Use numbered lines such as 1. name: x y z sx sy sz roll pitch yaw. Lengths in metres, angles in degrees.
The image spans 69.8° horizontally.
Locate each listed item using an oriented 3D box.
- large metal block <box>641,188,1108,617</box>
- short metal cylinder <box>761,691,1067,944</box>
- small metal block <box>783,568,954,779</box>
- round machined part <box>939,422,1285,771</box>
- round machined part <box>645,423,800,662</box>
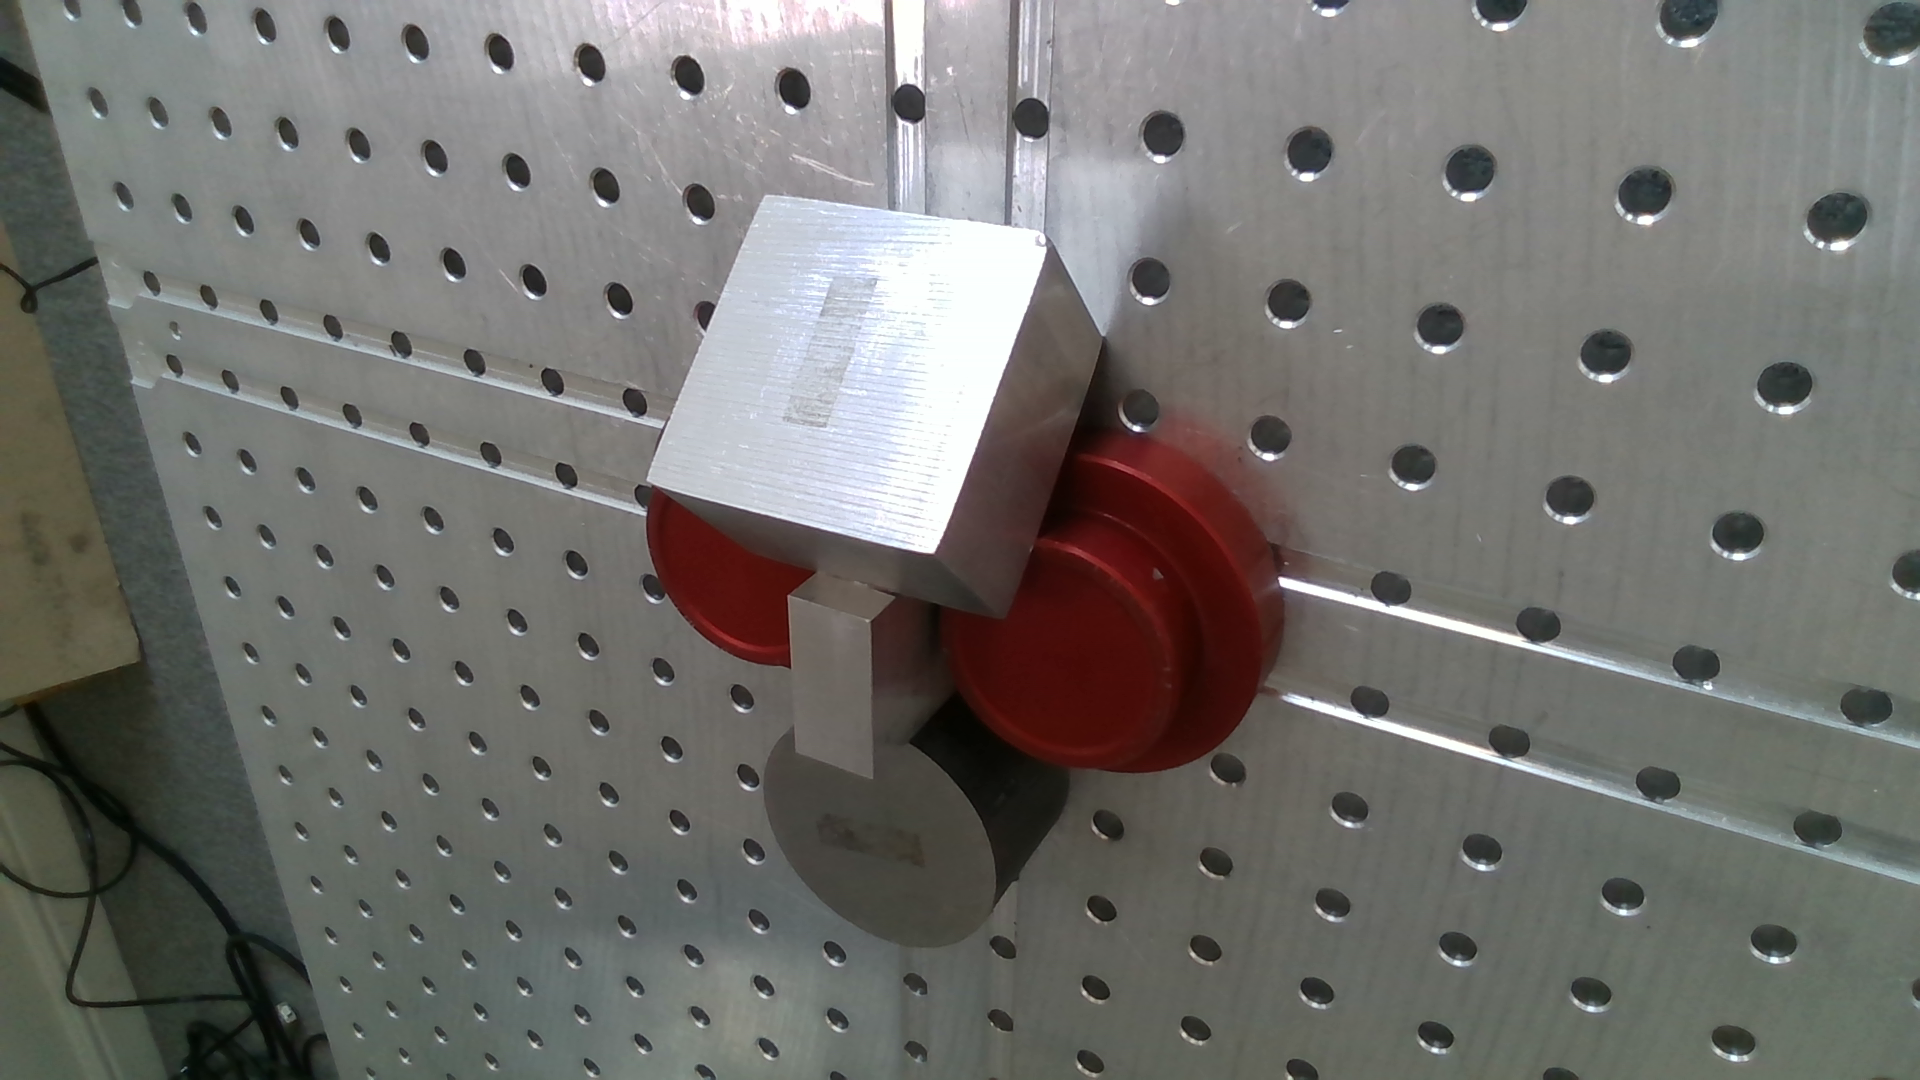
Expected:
1. large metal block: -0.019 -0.035 0.342 0.080 0.080 0.050 14 166 25
2. short metal cylinder: -0.014 0.076 0.425 0.080 0.050 0.080 15 122 25
3. small metal block: -0.023 0.028 0.377 0.025 0.050 0.050 16 122 24
4. round machined part: 0.034 0.021 0.372 0.098 0.042 0.098 15 122 25
5. round machined part: -0.055 -0.003 0.414 0.098 0.042 0.098 15 122 25
